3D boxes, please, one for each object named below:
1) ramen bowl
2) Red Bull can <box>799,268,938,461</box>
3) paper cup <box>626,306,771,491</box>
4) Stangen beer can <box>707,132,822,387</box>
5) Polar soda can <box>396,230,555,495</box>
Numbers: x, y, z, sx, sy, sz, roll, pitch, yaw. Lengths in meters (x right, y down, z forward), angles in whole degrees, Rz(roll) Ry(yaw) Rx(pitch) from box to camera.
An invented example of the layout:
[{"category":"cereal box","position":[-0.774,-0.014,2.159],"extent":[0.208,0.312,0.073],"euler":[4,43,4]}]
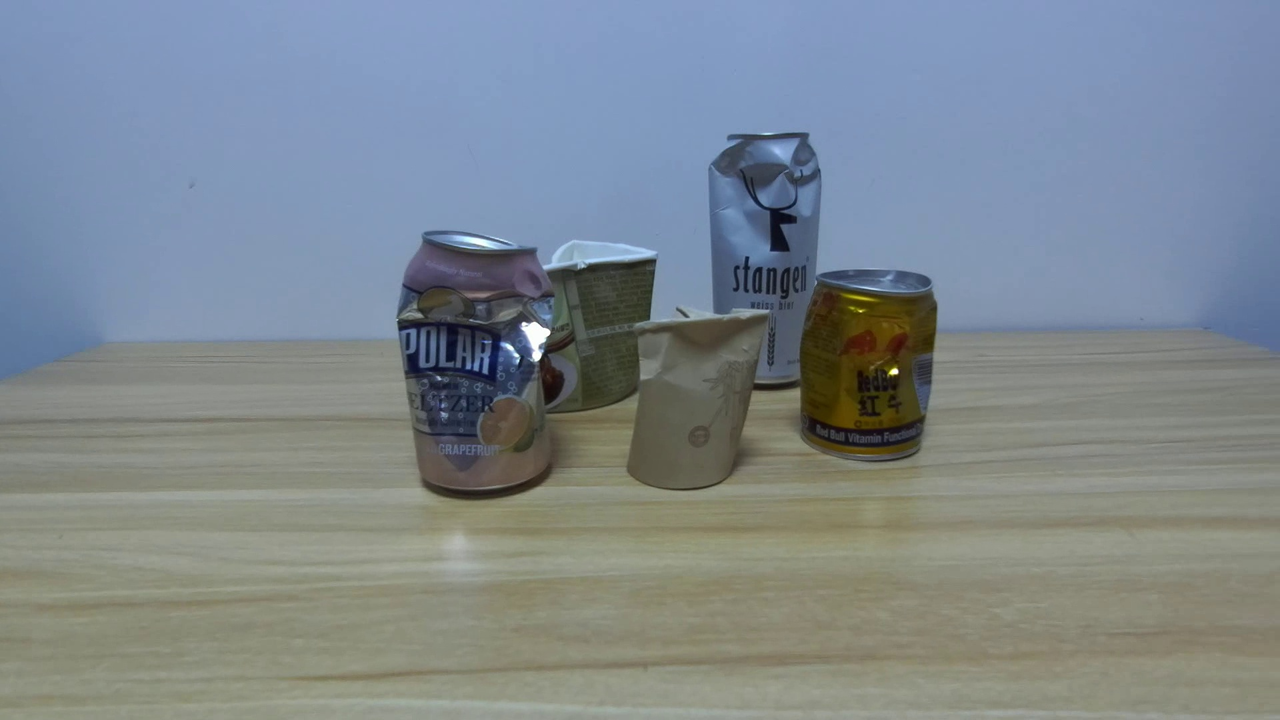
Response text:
[{"category":"ramen bowl","position":[-0.062,-0.025,0.470],"extent":[0.129,0.093,0.111],"euler":[-14,22,-39]},{"category":"Red Bull can","position":[0.122,0.000,0.380],"extent":[0.072,0.092,0.072],"euler":[0,18,0]},{"category":"paper cup","position":[0.020,0.015,0.349],"extent":[0.067,0.083,0.058],"euler":[-8,16,-28]},{"category":"Stangen beer can","position":[0.085,-0.066,0.479],"extent":[0.065,0.166,0.066],"euler":[10,18,36]},{"category":"Polar soda can","position":[-0.074,0.001,0.344],"extent":[0.071,0.121,0.066],"euler":[3,11,11]}]
